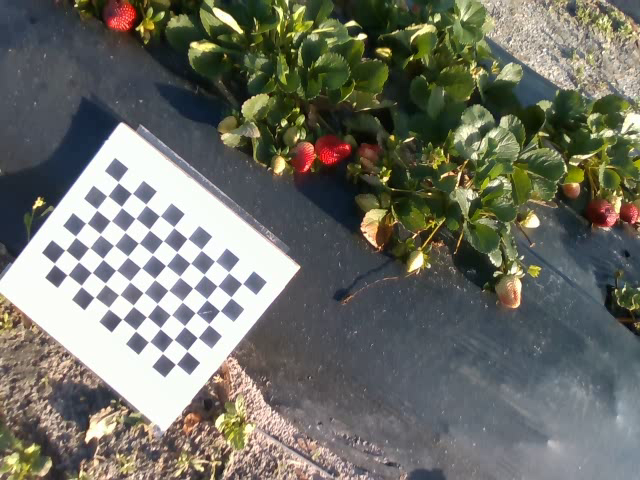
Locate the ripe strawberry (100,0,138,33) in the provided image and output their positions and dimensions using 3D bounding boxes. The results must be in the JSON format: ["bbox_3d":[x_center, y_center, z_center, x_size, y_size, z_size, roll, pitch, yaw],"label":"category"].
[{"bbox_3d":[-0.271,-0.297,0.855,0.052,0.041,0.052,9,35,0],"label":"ripe strawberry"}]
